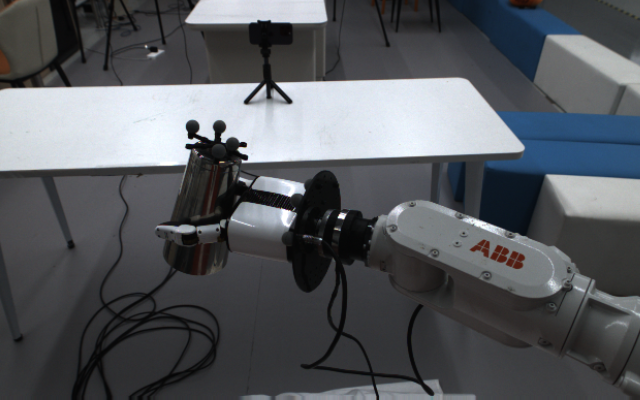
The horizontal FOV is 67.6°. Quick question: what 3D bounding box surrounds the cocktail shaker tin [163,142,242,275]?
[{"bbox_3d":[-0.156,0.006,0.666,0.093,0.170,0.093,15,27,-8],"label":"cocktail shaker tin"}]
